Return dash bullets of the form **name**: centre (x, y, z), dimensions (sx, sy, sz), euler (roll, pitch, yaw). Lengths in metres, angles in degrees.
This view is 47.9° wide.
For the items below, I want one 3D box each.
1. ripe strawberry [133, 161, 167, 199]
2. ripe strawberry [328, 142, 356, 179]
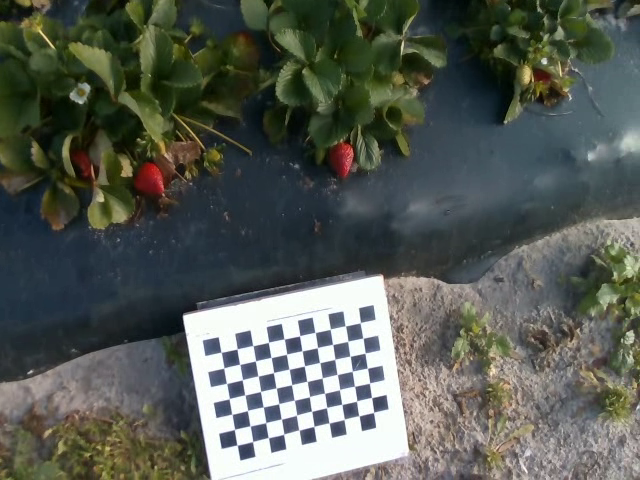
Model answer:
- **ripe strawberry**: centre (-0.149, -0.050, 0.618), dimensions (0.030, 0.032, 0.025), euler (41, -7, 10)
- **ripe strawberry**: centre (0.021, -0.072, 0.658), dimensions (0.029, 0.036, 0.021), euler (-9, -4, -6)
